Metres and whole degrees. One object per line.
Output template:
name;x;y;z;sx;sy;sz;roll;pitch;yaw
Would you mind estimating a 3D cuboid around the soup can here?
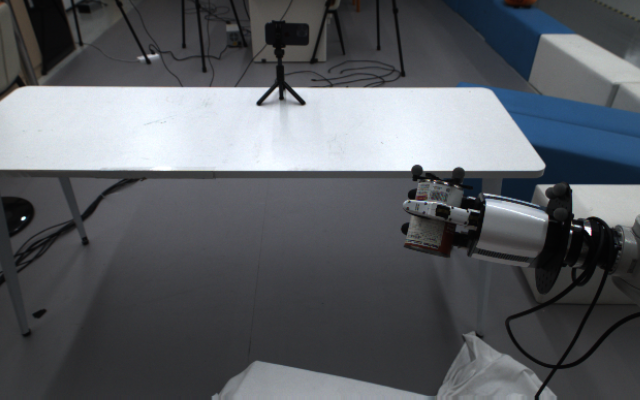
soup can;0.168;0.026;0.708;0.067;0.101;0.067;13;-7;2
